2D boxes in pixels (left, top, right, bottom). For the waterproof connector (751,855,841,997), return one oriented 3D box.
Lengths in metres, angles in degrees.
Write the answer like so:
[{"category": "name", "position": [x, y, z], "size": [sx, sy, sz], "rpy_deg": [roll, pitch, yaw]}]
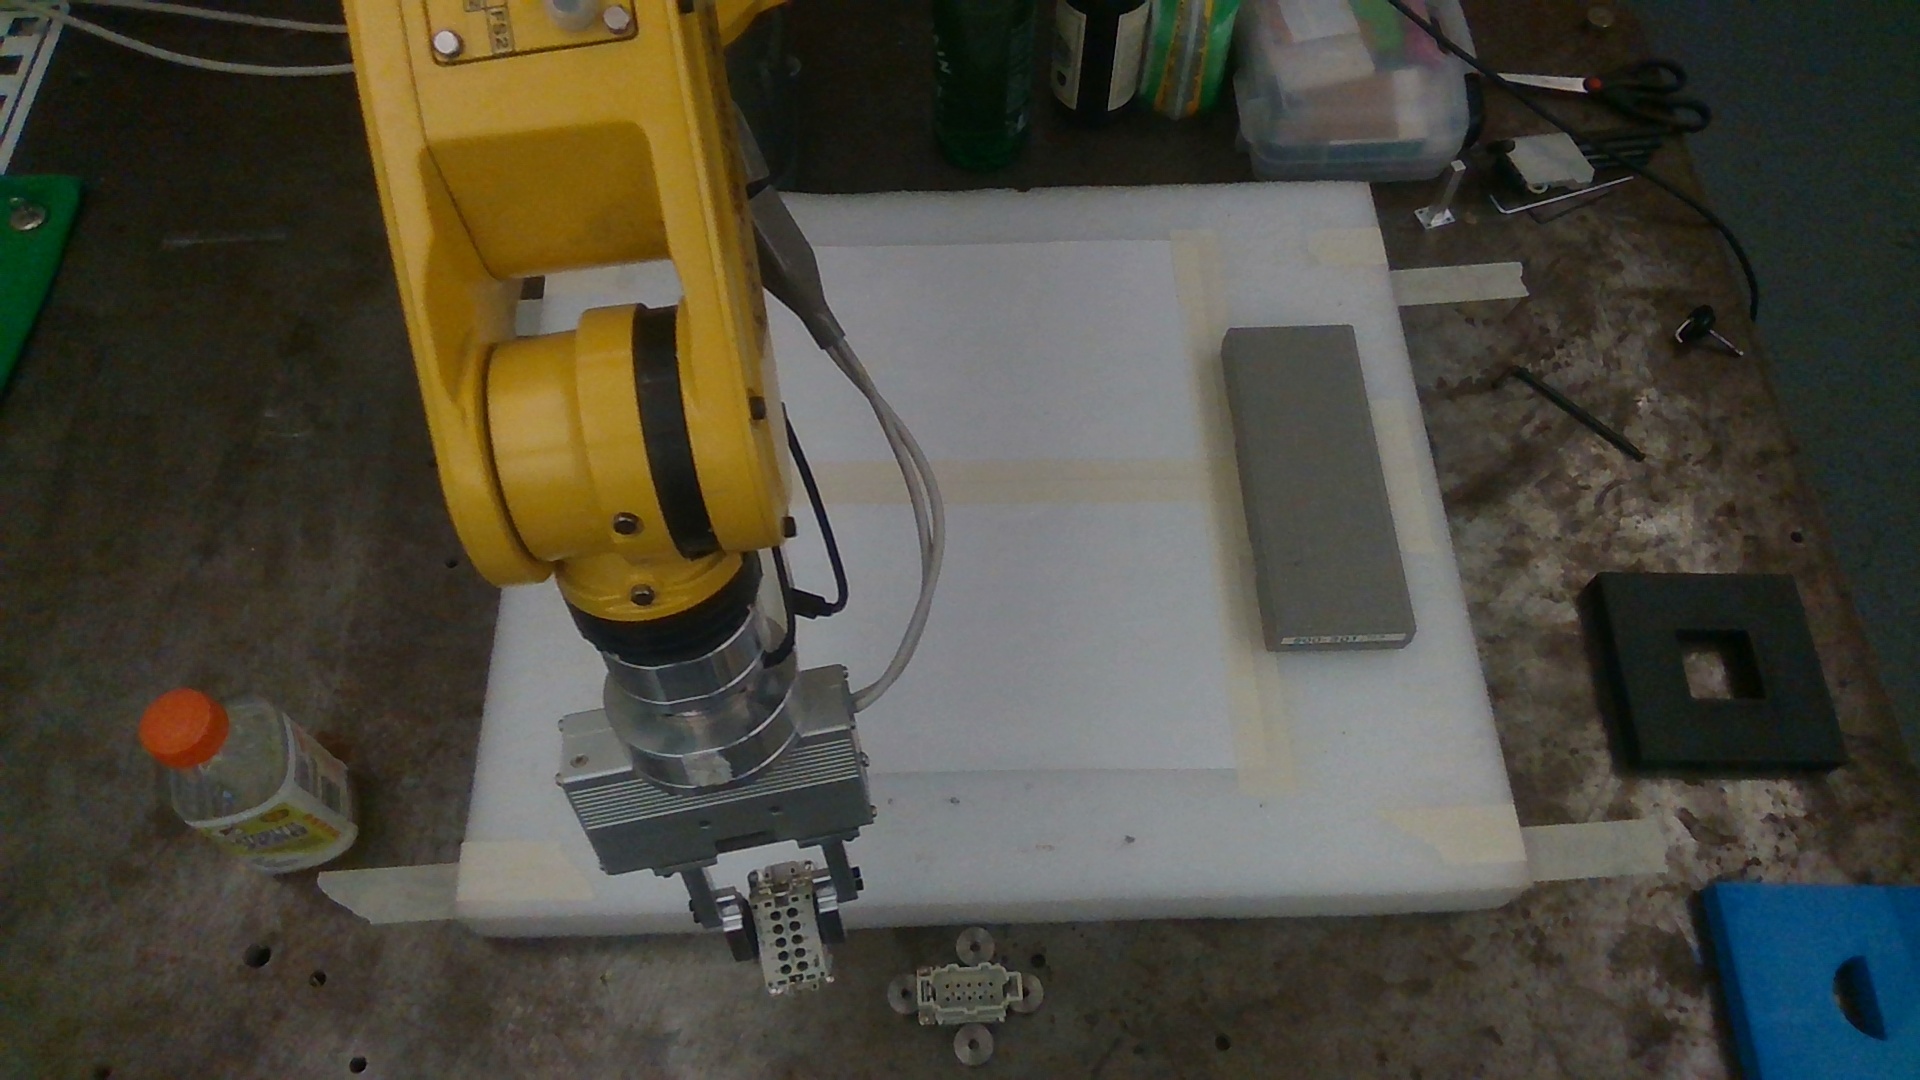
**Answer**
[{"category": "waterproof connector", "position": [-0.085, 0.199, 0.712], "size": [0.037, 0.038, 0.069], "rpy_deg": [-10, 92, -3]}]
